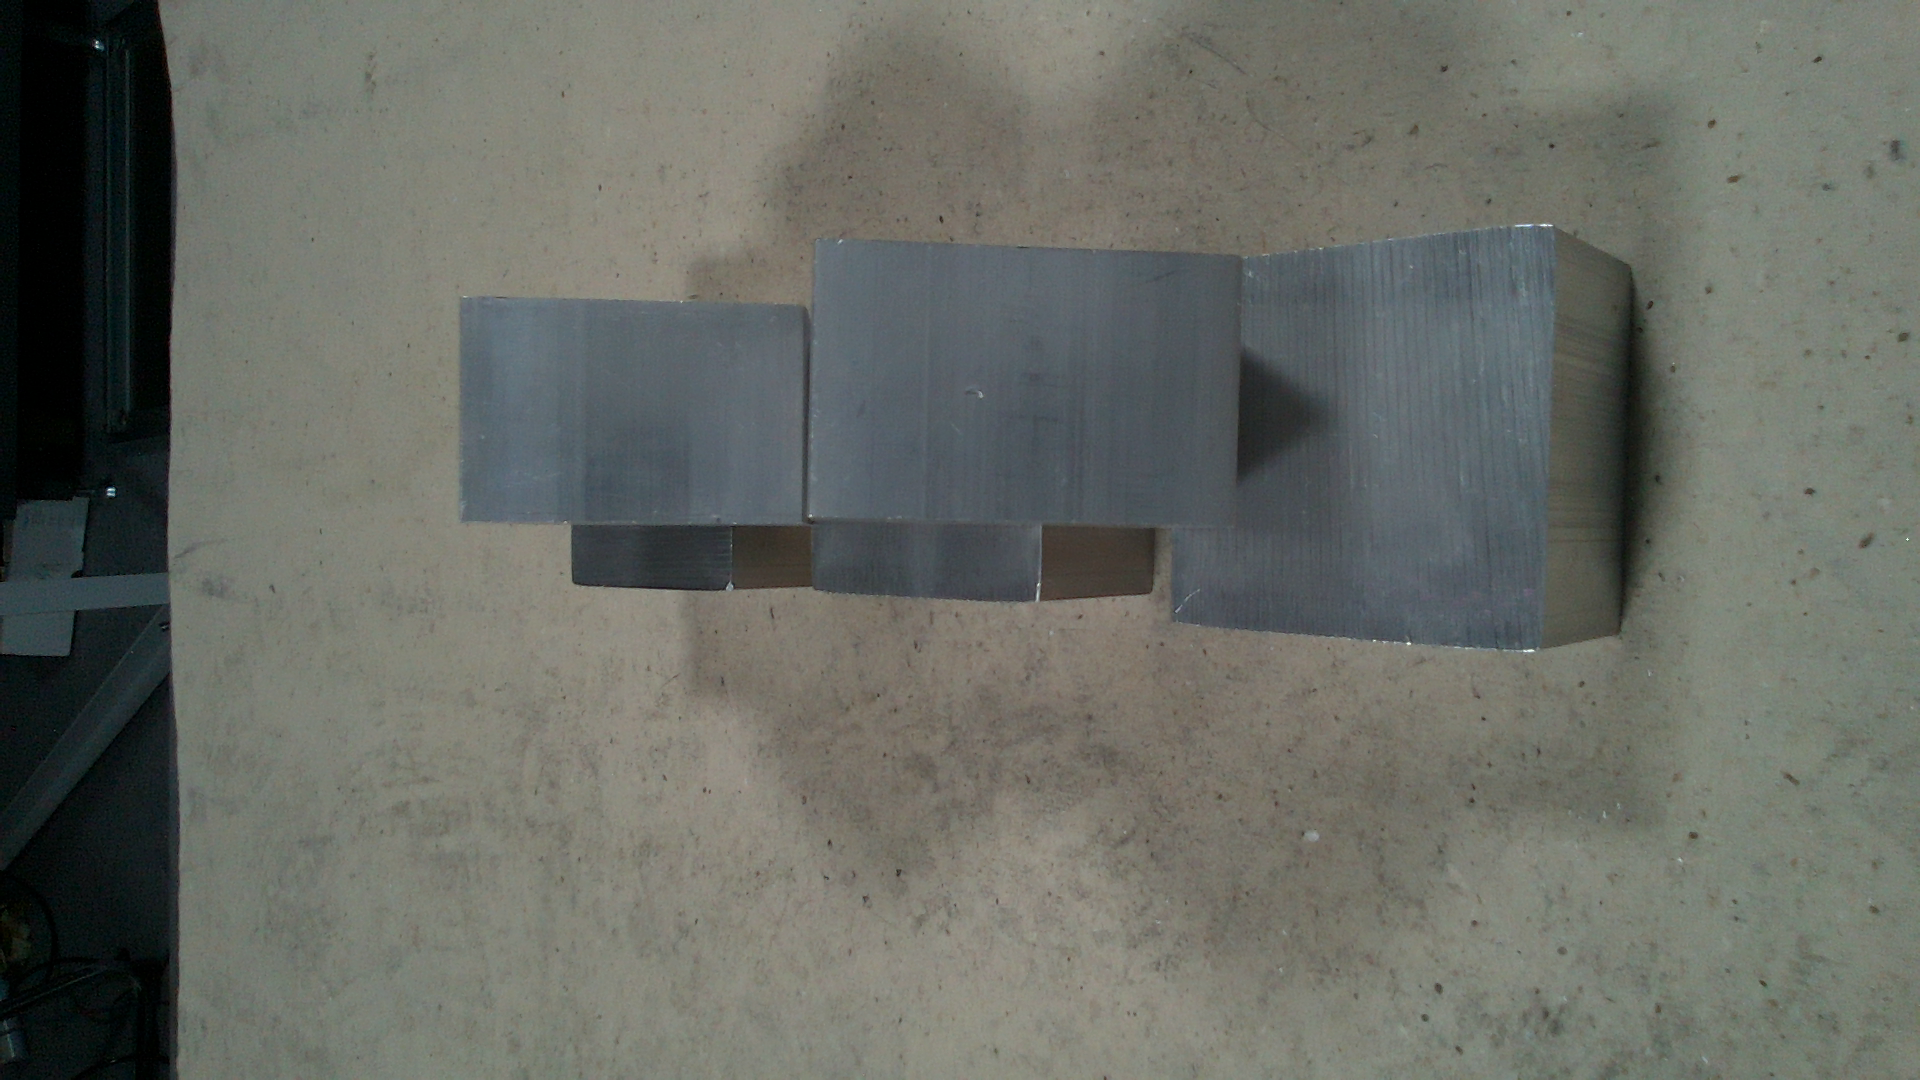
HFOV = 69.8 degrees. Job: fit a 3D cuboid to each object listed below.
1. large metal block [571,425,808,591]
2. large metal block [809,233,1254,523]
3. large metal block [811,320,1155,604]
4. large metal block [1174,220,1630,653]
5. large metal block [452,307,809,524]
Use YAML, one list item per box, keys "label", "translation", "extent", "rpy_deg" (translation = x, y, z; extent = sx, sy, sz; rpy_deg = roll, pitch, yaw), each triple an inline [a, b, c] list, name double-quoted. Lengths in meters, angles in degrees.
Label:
- label: "large metal block"
  translation: [-0.082, -0.025, 0.448]
  extent: [0.080, 0.050, 0.080]
  rpy_deg: [0, 90, 40]
- label: "large metal block"
  translation: [0.010, -0.029, 0.288]
  extent: [0.080, 0.080, 0.050]
  rpy_deg: [-175, 86, -85]
- label: "large metal block"
  translation: [0.006, -0.025, 0.374]
  extent: [0.080, 0.050, 0.080]
  rpy_deg: [1, 91, 40]
- label: "large metal block"
  translation: [0.095, -0.020, 0.299]
  extent: [0.080, 0.050, 0.080]
  rpy_deg: [2, 91, 40]
- label: "large metal block"
  translation: [-0.080, -0.029, 0.361]
  extent: [0.080, 0.080, 0.050]
  rpy_deg: [-1, 90, -5]
